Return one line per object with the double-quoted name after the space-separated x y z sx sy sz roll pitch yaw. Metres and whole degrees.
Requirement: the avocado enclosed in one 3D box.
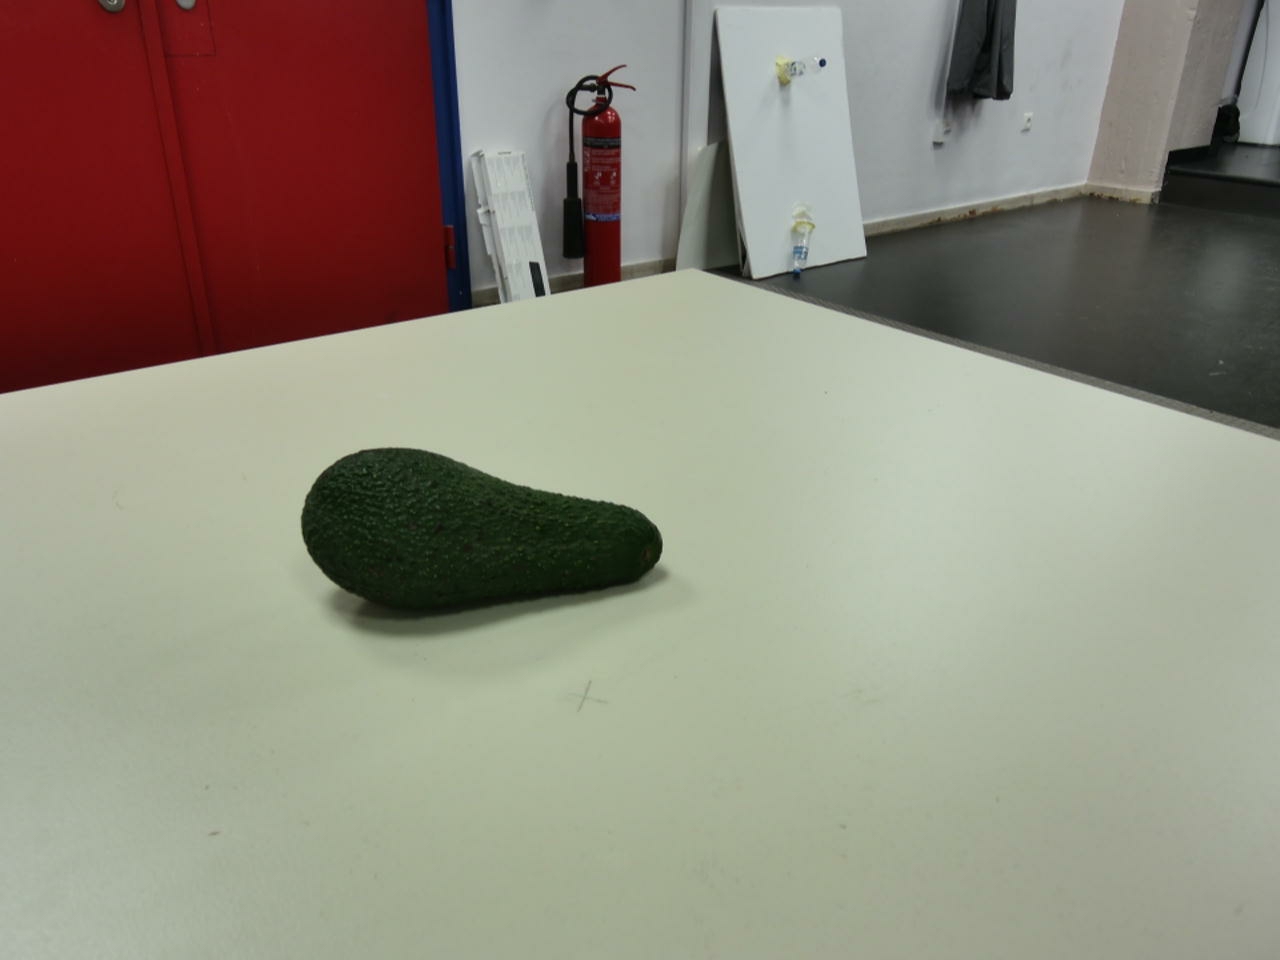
-0.060 0.014 0.399 0.141 0.067 0.063 -10 25 -22 "avocado"
